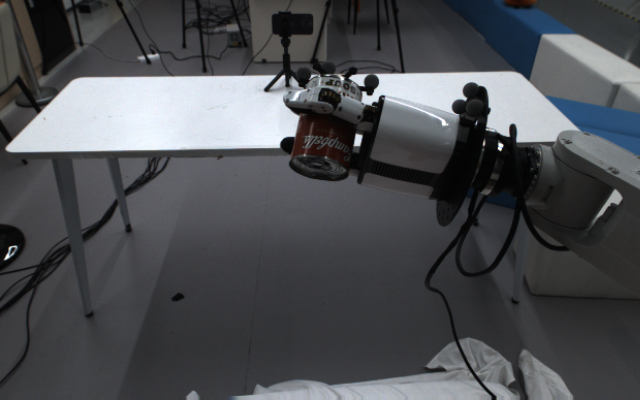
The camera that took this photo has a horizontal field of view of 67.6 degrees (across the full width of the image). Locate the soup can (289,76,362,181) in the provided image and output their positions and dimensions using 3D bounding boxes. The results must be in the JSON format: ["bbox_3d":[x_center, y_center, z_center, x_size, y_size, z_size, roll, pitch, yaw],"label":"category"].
[{"bbox_3d":[0.009,-0.080,0.543,0.067,0.067,0.101,8,72,9],"label":"soup can"}]
